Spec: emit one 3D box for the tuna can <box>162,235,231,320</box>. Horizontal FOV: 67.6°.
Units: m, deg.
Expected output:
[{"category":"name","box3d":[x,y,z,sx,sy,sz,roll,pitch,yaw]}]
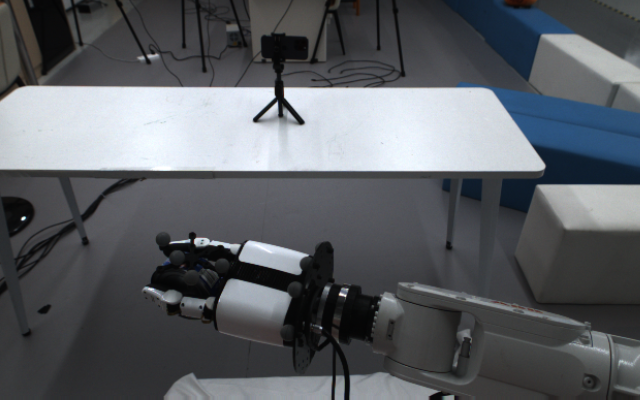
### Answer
[{"category":"tuna can","box3d":[-0.163,0.108,0.609,0.085,0.085,0.034,12,33,14]}]
